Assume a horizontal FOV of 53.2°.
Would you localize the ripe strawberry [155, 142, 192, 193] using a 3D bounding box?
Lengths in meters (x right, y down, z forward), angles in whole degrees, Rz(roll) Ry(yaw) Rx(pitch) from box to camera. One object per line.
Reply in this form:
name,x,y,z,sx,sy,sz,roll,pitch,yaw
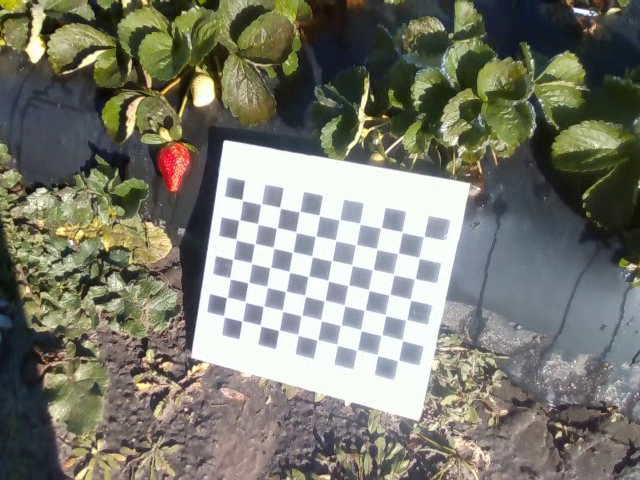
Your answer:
ripe strawberry,-0.177,-0.087,0.755,0.048,0.069,0.040,-7,-4,17
